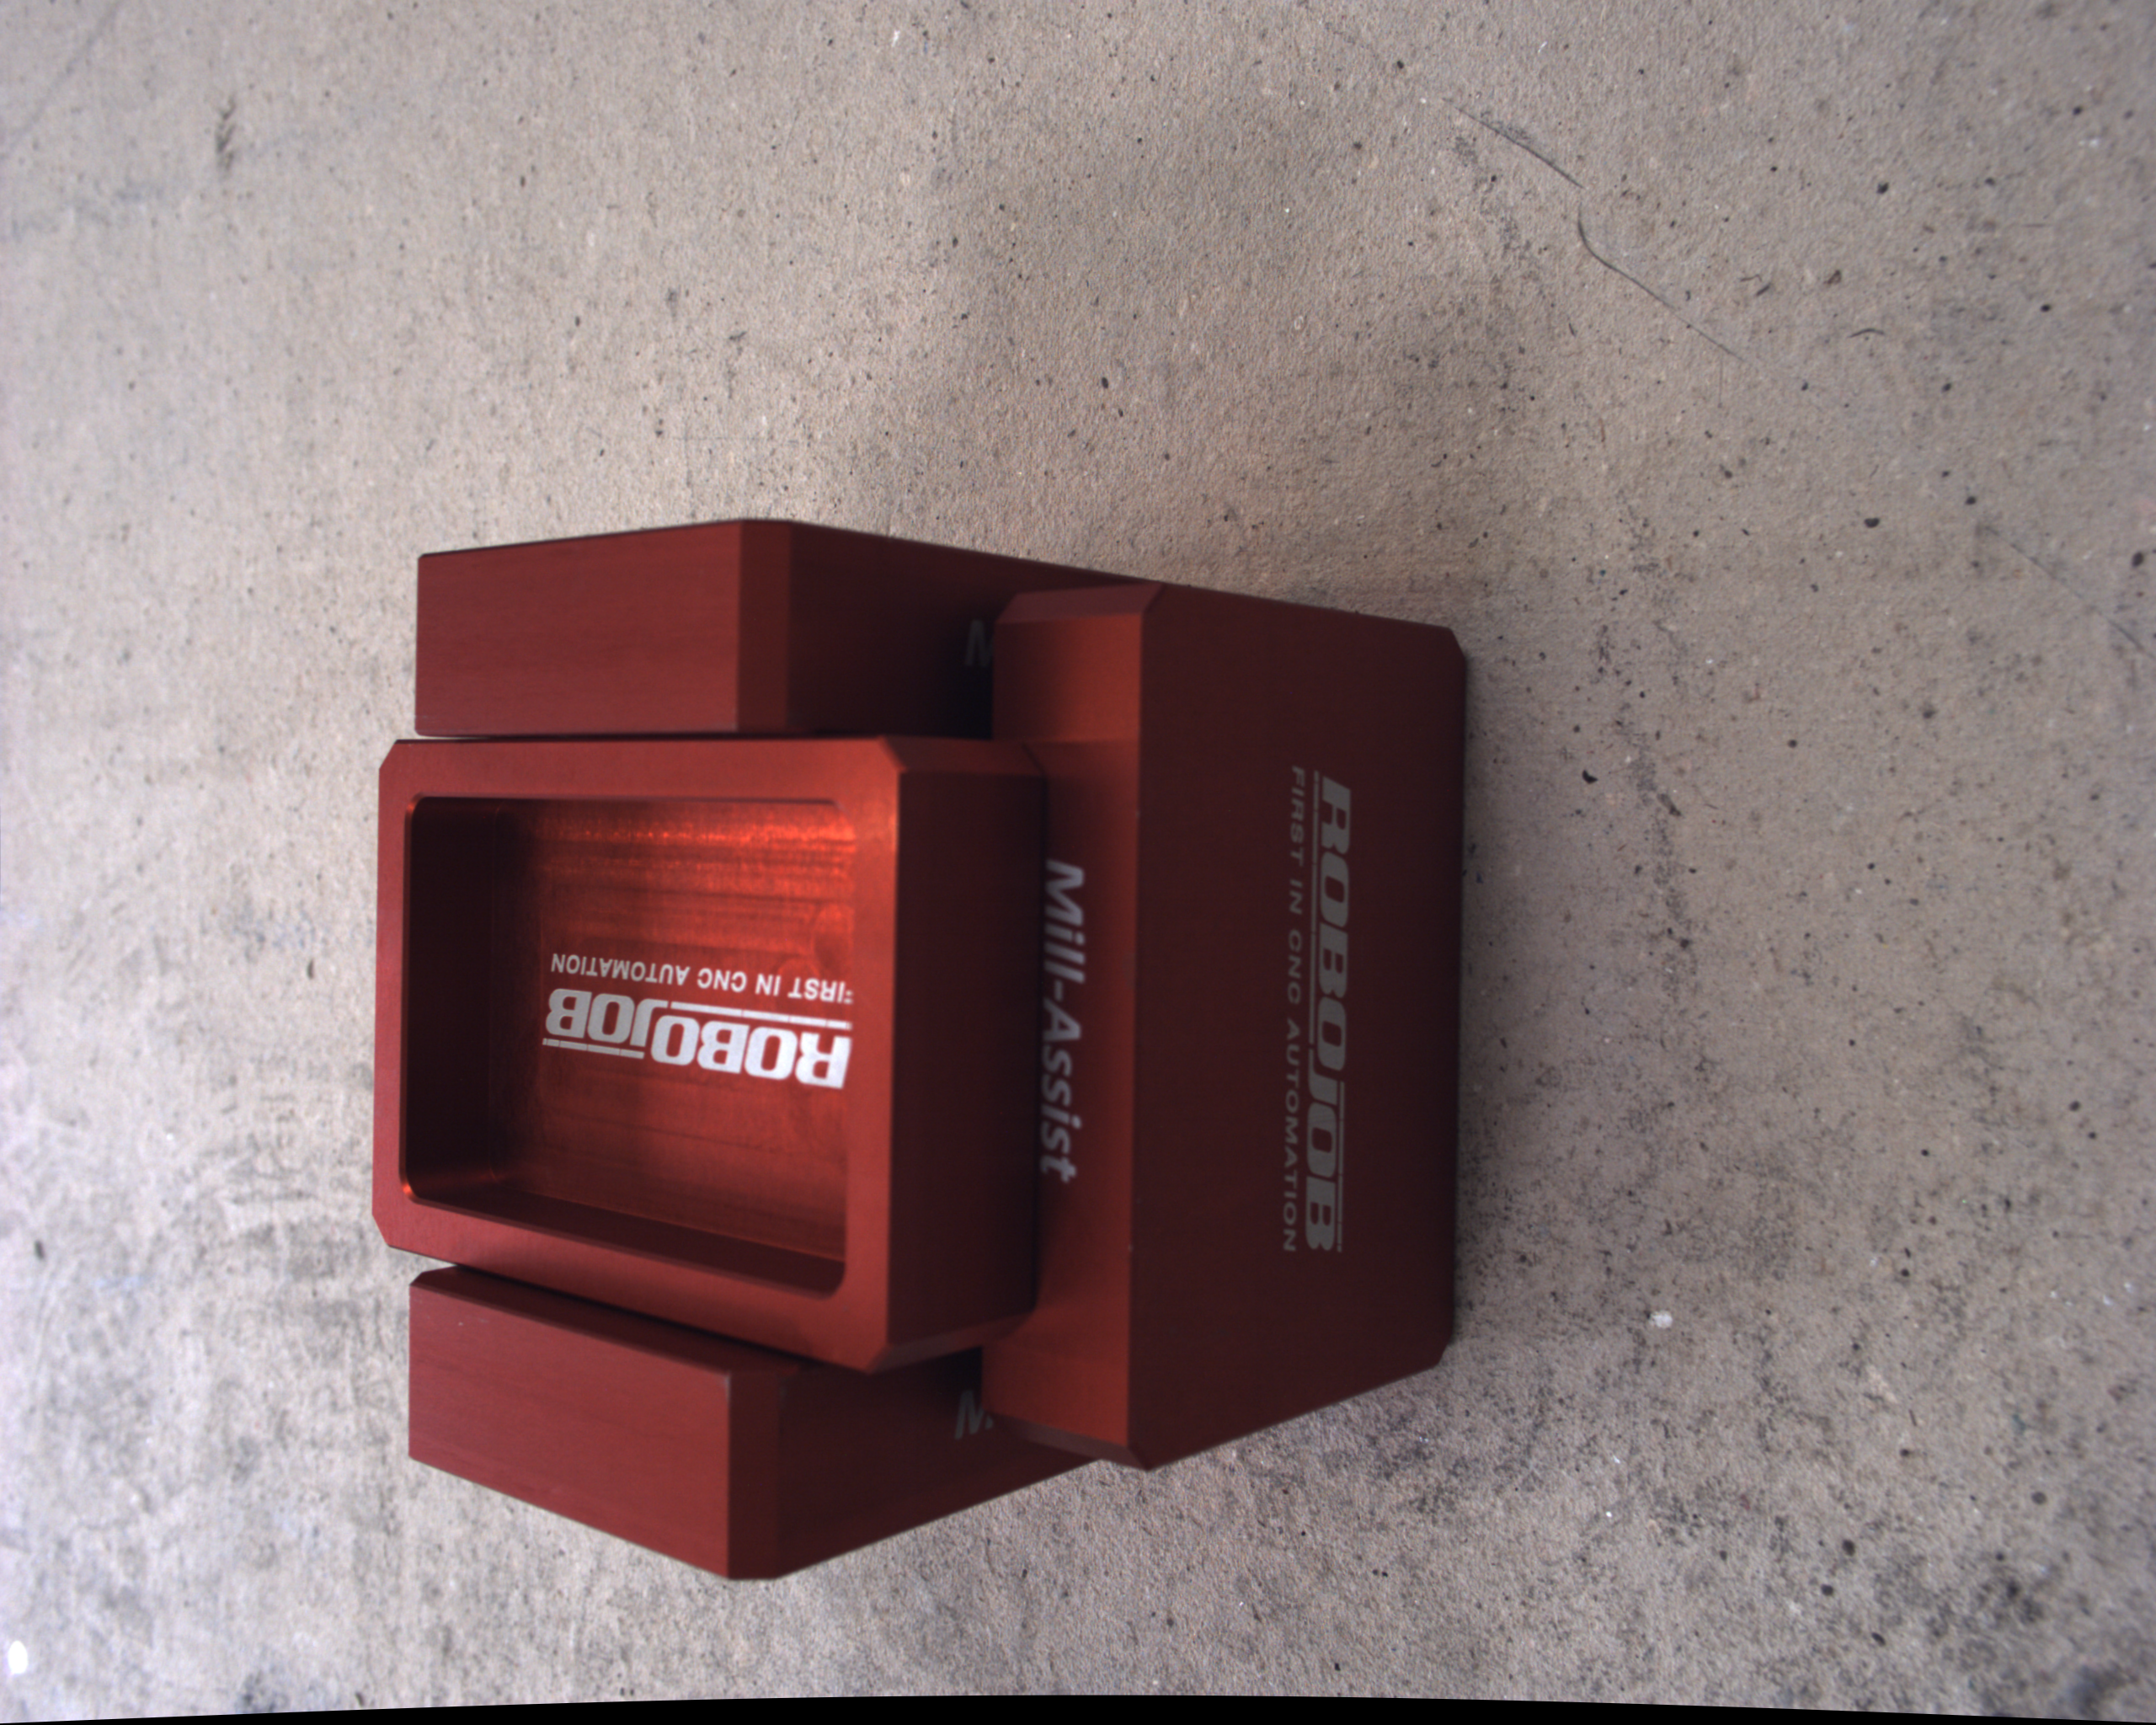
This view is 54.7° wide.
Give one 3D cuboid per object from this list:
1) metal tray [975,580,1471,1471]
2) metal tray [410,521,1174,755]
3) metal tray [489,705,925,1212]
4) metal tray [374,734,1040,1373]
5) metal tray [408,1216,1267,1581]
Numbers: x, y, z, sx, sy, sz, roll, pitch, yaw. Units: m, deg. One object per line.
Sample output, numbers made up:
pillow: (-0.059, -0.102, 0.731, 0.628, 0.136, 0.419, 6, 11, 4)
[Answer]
metal tray: (0.027, 0.024, 0.342, 0.030, 0.091, 0.129, 2, 90, 41)
metal tray: (-0.037, -0.034, 0.367, 0.090, 0.131, 0.030, 3, 92, 40)
metal tray: (-0.073, 0.029, 0.424, 0.030, 0.091, 0.129, -1, 90, 40)
metal tray: (-0.065, 0.025, 0.340, 0.130, 0.030, 0.089, 2, 92, 40)
metal tray: (-0.038, 0.085, 0.369, 0.090, 0.131, 0.030, 2, 92, 40)
